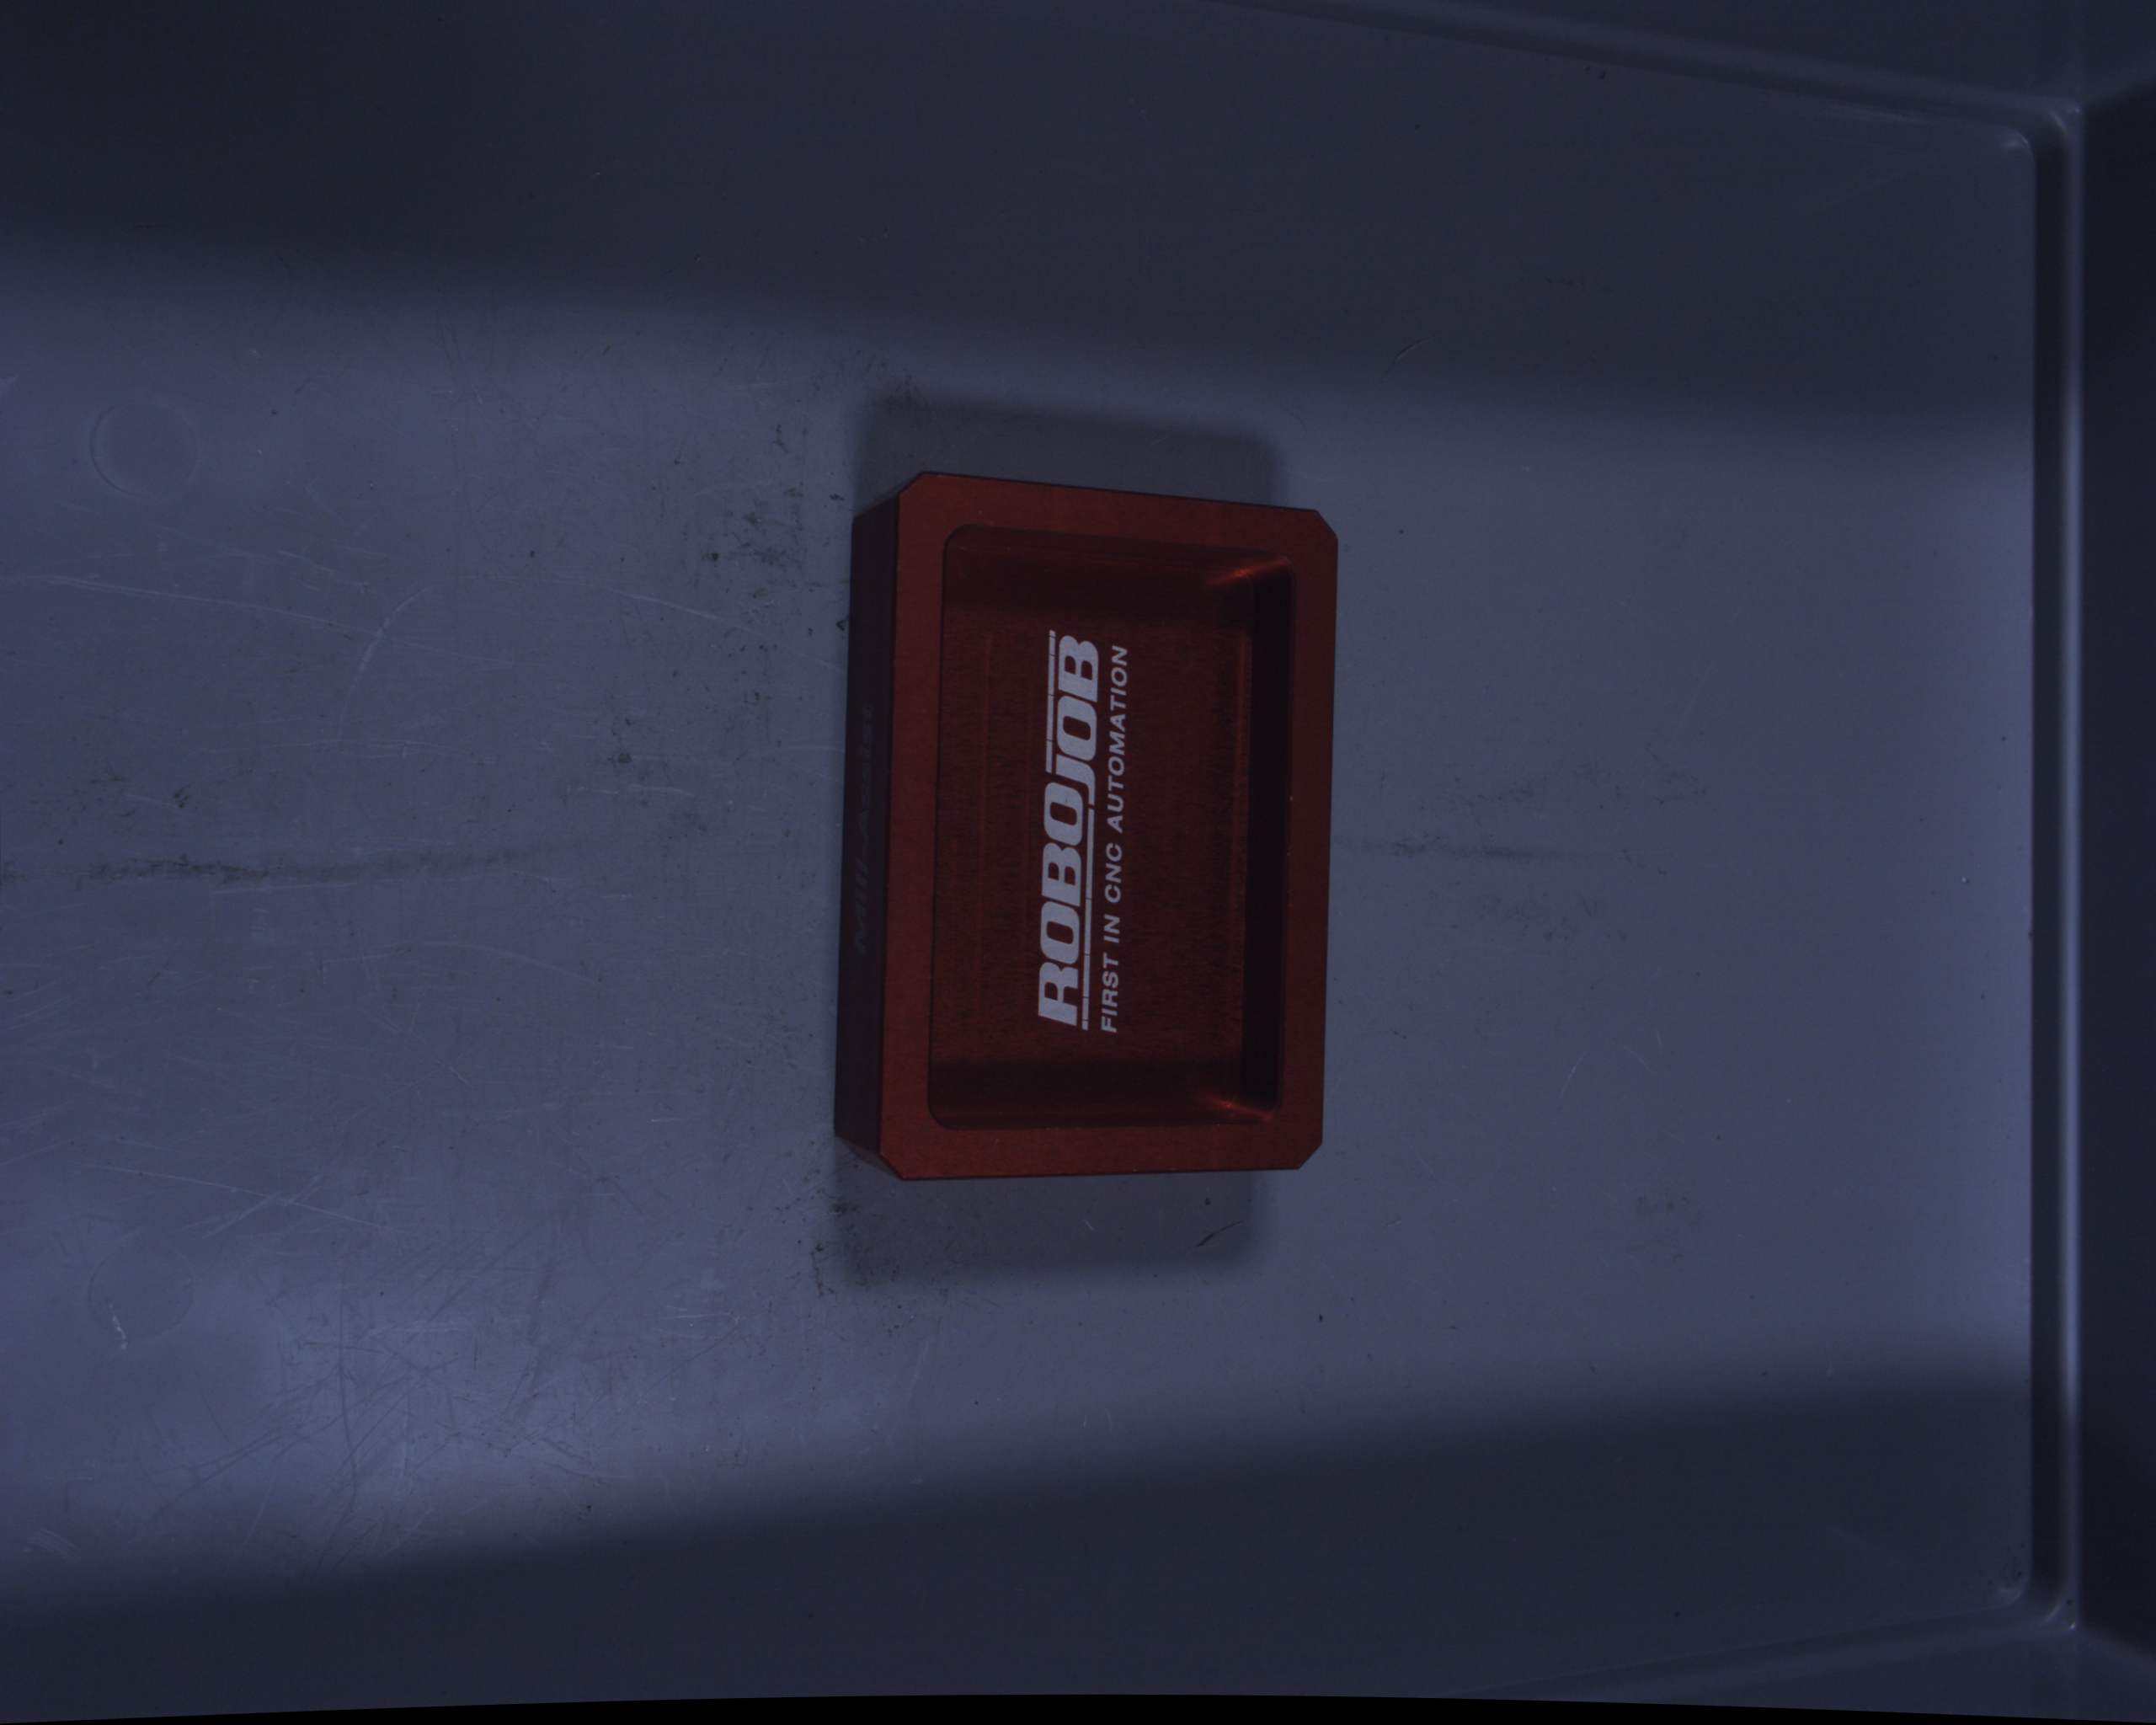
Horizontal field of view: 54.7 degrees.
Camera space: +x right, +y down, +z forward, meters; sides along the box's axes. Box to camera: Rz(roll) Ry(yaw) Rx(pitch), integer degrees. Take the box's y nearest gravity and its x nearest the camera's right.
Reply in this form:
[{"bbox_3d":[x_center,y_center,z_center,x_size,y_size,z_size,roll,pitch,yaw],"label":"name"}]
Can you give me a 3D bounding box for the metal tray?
[{"bbox_3d":[0.002,-0.006,0.406,0.091,0.030,0.129,2,89,-21],"label":"metal tray"}]
